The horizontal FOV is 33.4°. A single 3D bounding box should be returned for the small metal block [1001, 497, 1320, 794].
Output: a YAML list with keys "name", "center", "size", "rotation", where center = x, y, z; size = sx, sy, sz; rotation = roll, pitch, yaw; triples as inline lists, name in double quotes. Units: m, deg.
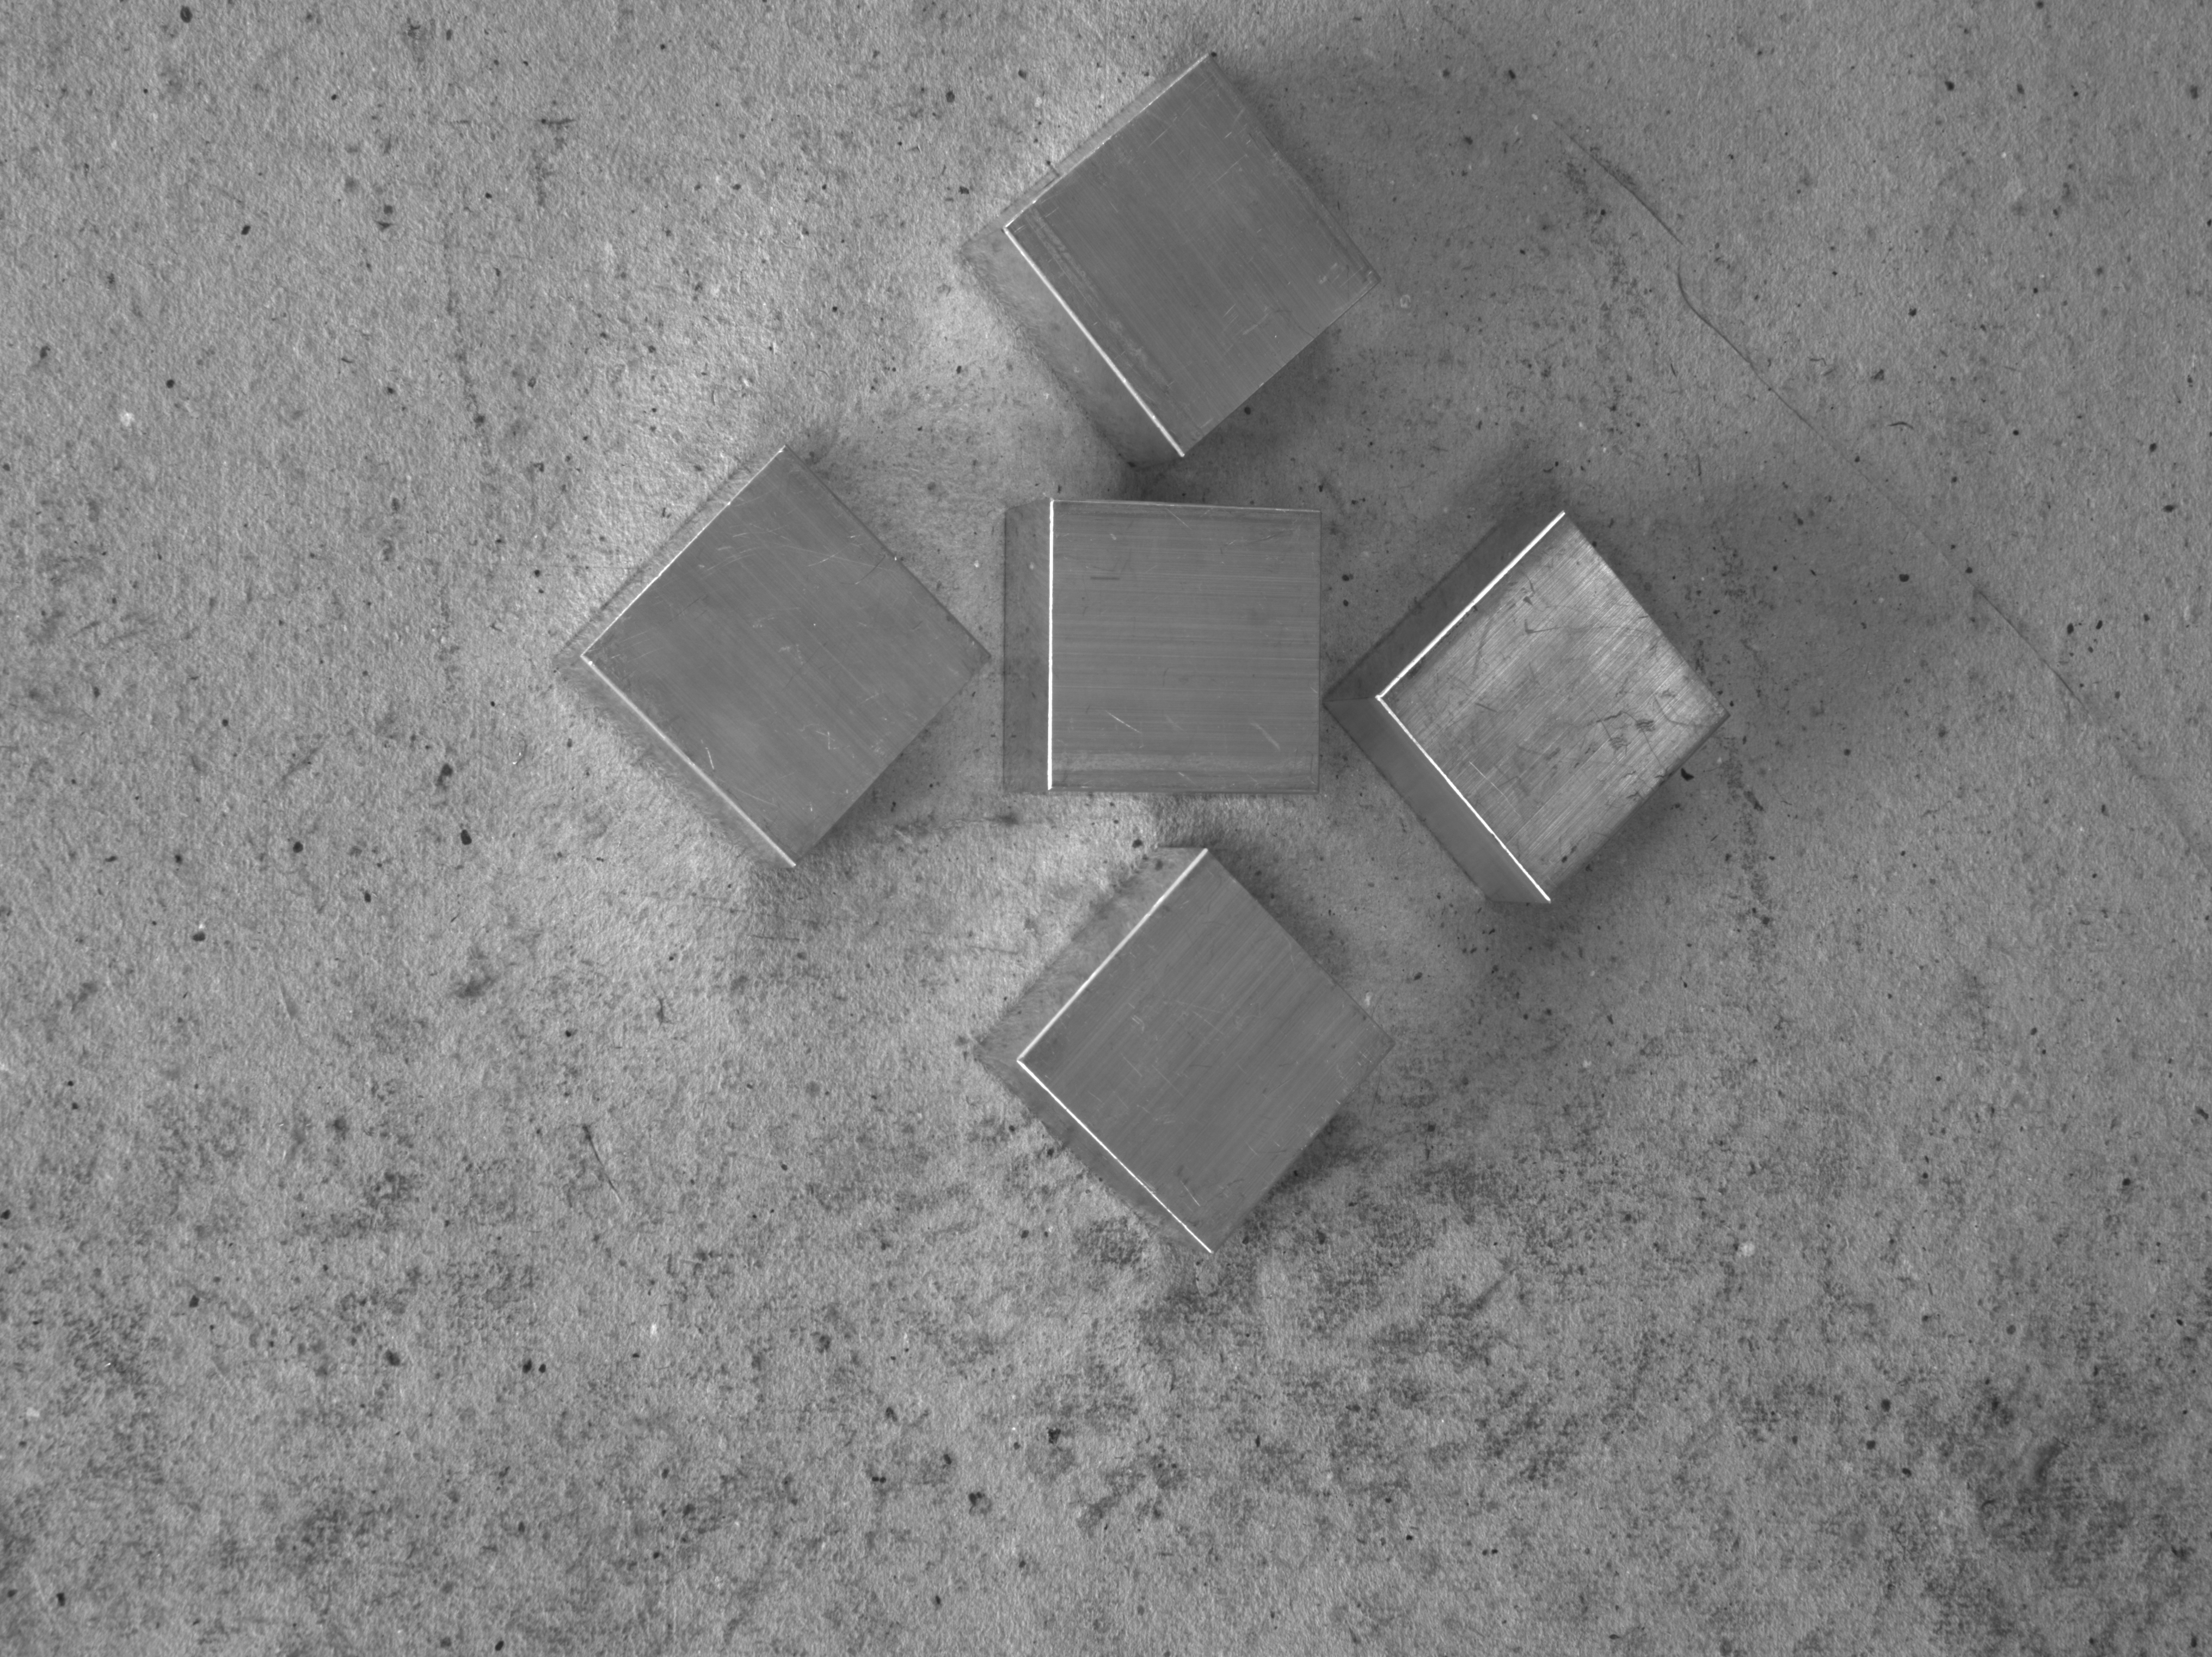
- name: "small metal block"
  center: [0.009, -0.031, 0.647]
  size: [0.050, 0.025, 0.050]
  rotation: [0, 90, -19]

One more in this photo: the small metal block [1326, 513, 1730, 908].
- name: "small metal block"
  center: [0.076, -0.021, 0.672]
  size: [0.050, 0.025, 0.050]
  rotation: [-45, 104, -14]

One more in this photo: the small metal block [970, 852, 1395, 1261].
- name: "small metal block"
  center: [0.014, 0.039, 0.649]
  size: [0.050, 0.025, 0.050]
  rotation: [46, 75, -14]

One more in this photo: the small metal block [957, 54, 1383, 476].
- name: "small metal block"
  center: [0.011, -0.098, 0.647]
  size: [0.050, 0.025, 0.050]
  rotation: [-43, 103, -15]

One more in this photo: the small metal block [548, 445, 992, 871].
- name: "small metal block"
  center: [-0.057, -0.028, 0.623]
  size: [0.050, 0.025, 0.050]
  rotation: [45, 75, -14]
